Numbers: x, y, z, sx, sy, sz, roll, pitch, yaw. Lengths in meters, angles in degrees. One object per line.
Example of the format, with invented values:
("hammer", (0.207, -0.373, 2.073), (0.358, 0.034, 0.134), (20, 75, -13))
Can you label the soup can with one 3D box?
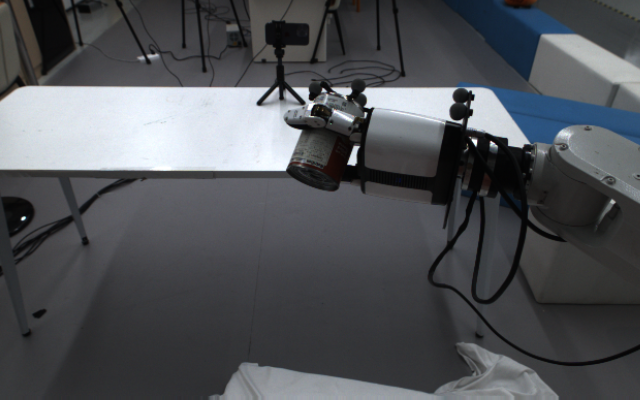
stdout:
("soup can", (0.009, -0.071, 0.590), (0.067, 0.067, 0.101), (15, 74, 18))
